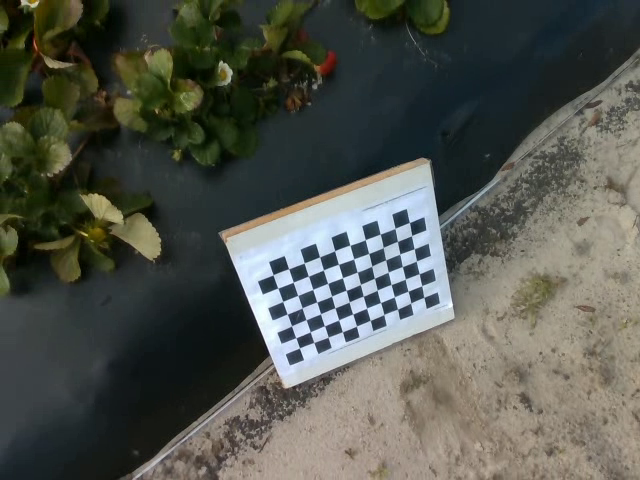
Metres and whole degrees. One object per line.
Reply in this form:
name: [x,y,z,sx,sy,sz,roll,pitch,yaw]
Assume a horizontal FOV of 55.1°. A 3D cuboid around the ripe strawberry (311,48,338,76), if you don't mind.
ripe strawberry: [0.003,-0.156,0.519,0.027,0.021,0.021,-37,-46,14]
